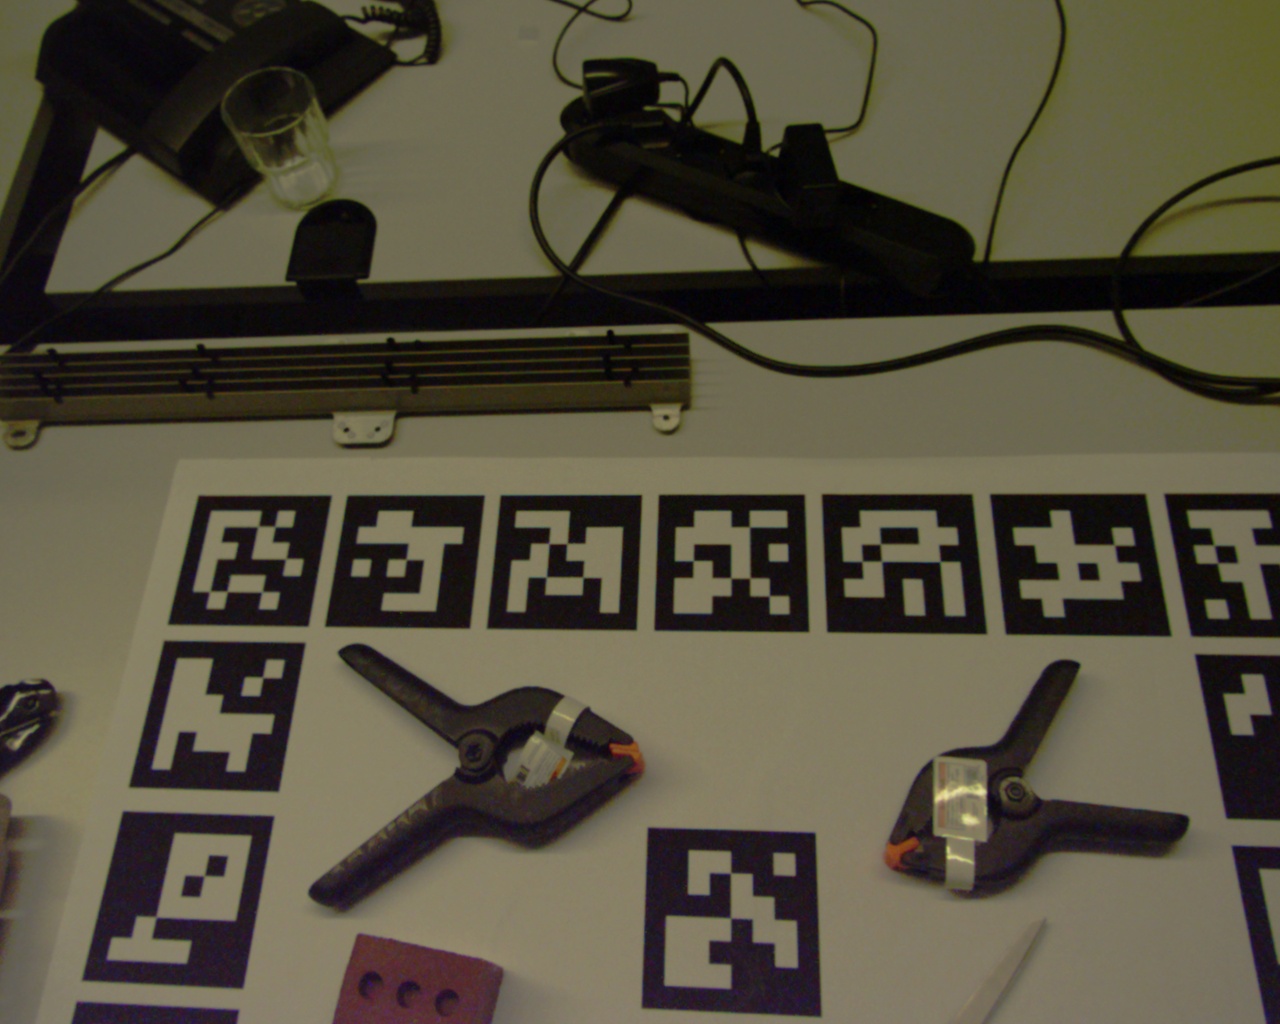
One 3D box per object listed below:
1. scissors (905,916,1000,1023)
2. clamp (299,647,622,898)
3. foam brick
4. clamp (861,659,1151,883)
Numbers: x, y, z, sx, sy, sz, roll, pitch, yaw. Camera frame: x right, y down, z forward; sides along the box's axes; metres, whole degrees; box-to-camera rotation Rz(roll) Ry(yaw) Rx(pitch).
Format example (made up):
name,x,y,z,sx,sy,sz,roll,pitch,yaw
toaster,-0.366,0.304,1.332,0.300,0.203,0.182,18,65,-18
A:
name,x,y,z,sx,sy,sz,roll,pitch,yaw
scissors,0.142,0.308,0.649,0.088,0.016,0.202,40,73,14
clamp,-0.113,0.163,0.741,0.203,0.036,0.166,-3,61,4
foam brick,-0.138,0.284,0.680,0.078,0.051,0.053,6,66,14
clamp,0.211,0.176,0.702,0.165,0.036,0.122,-25,71,-5
